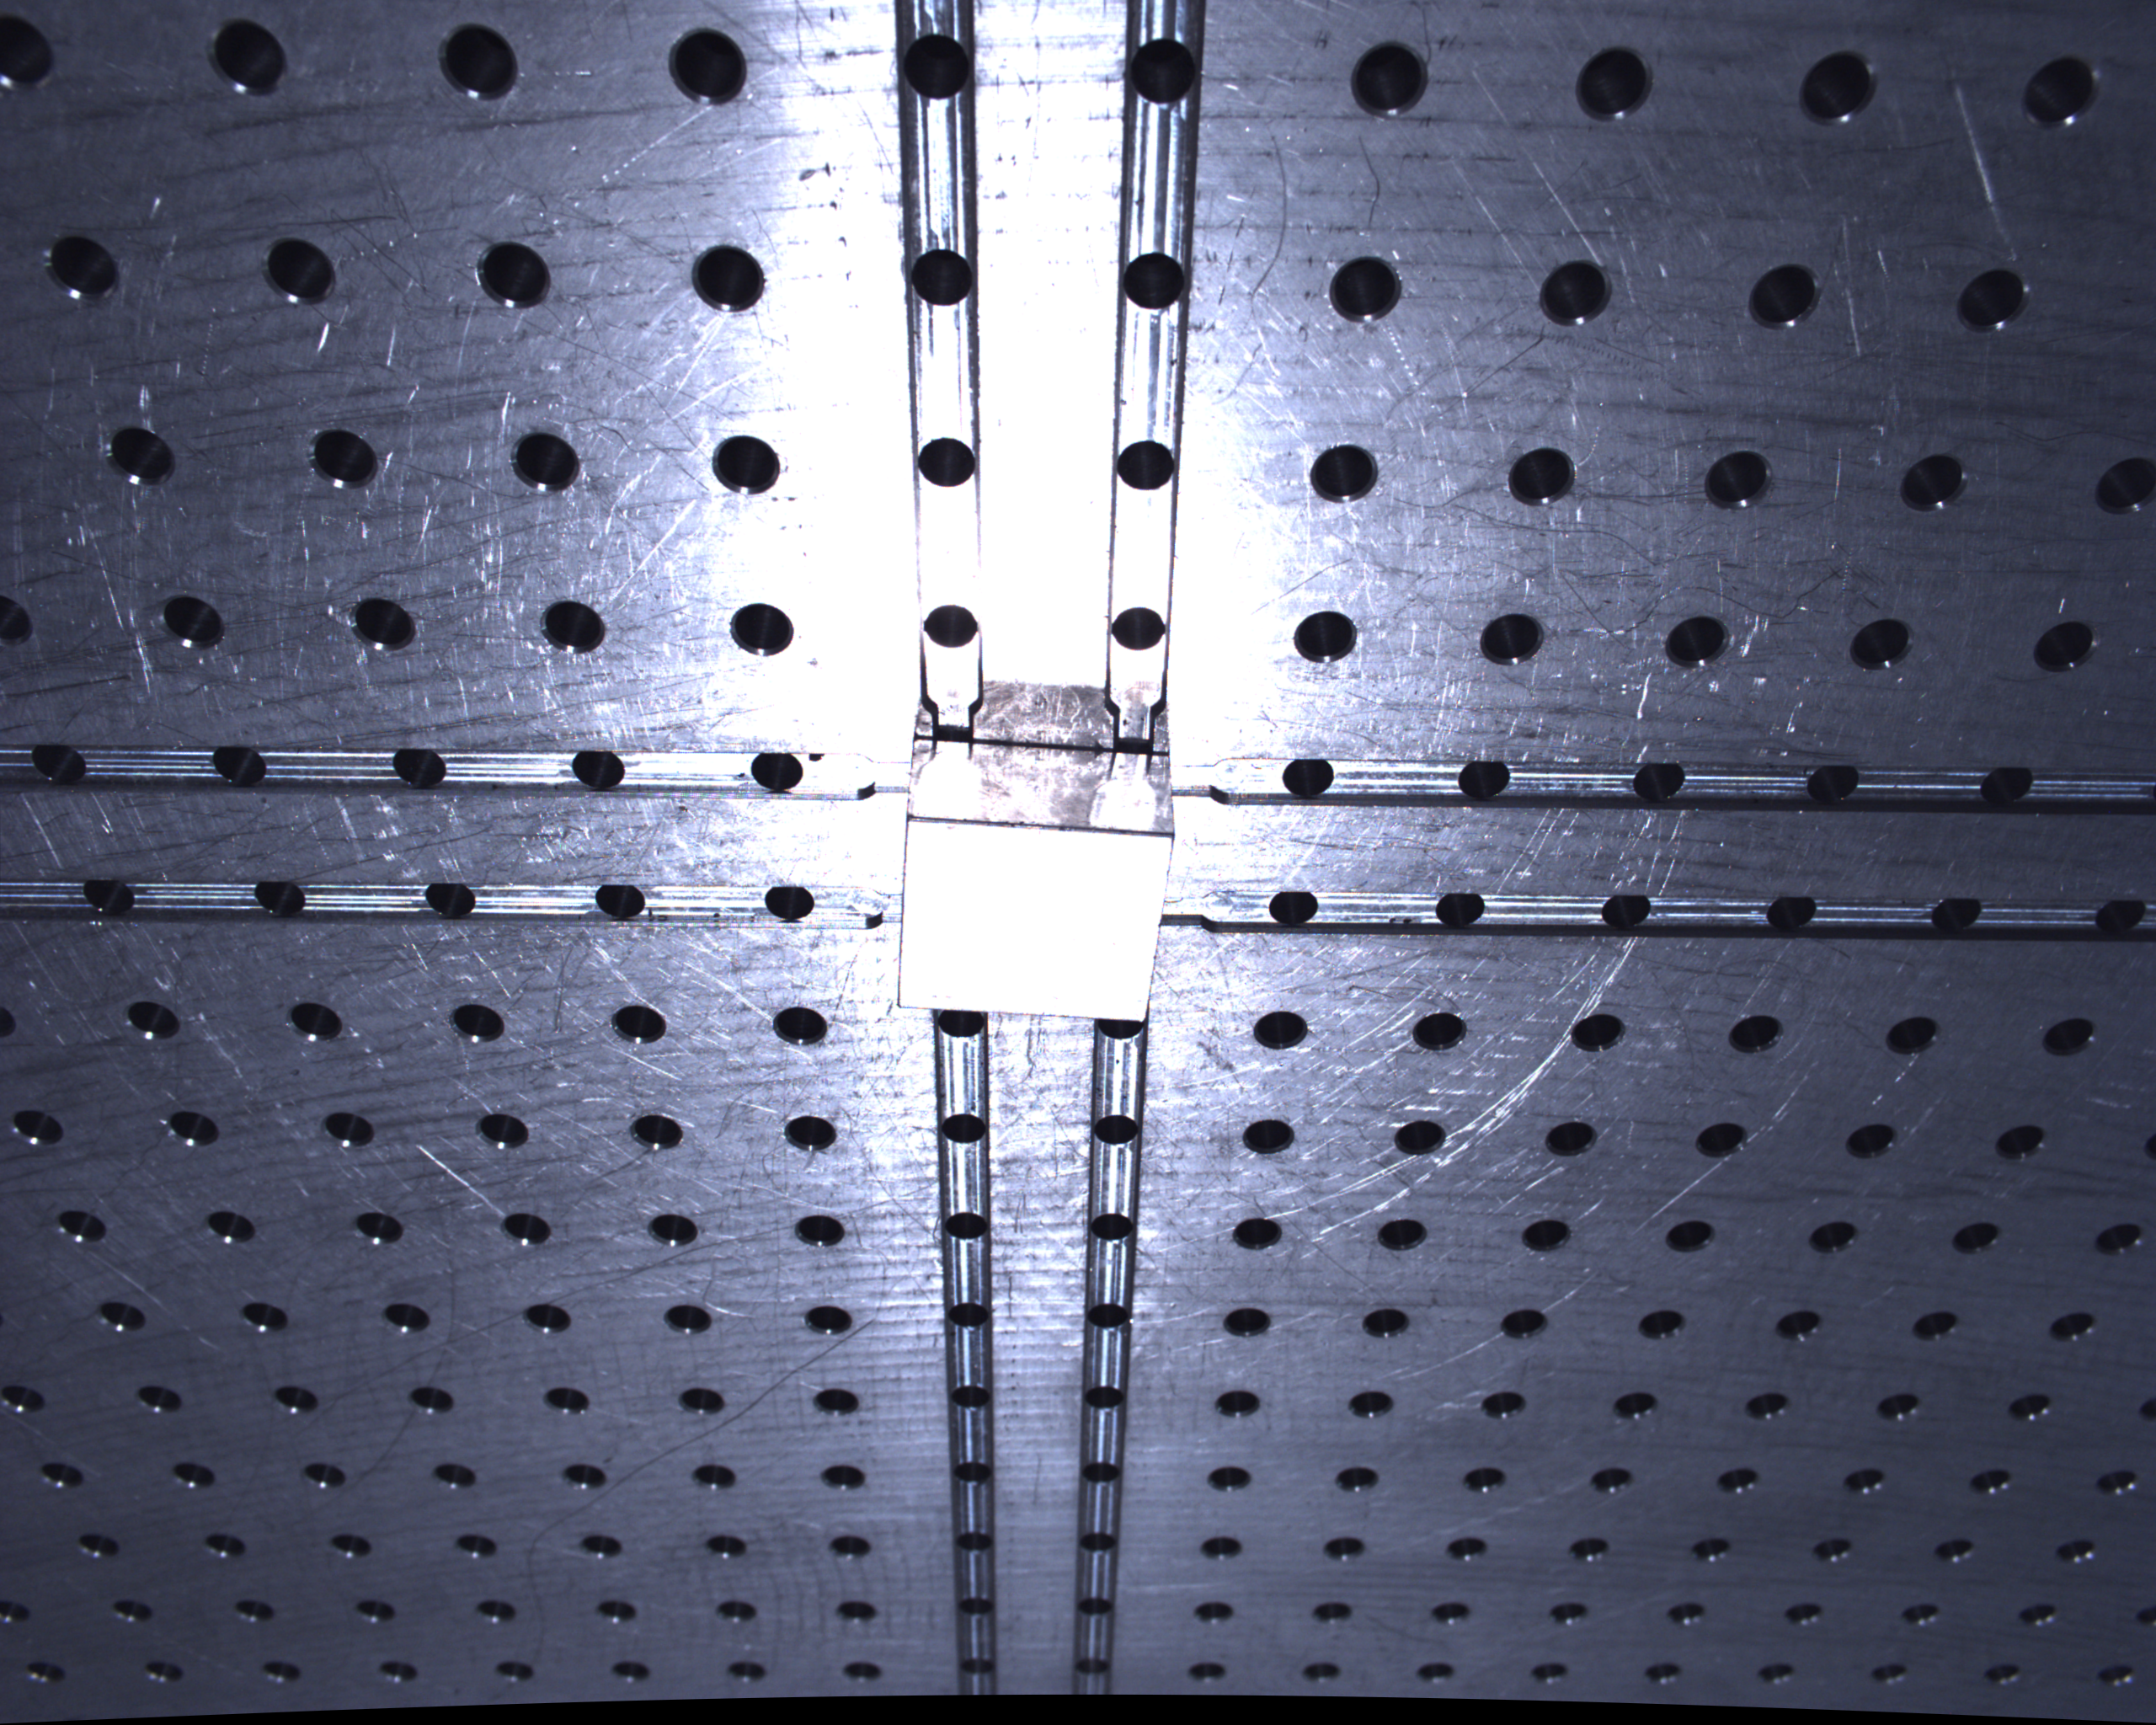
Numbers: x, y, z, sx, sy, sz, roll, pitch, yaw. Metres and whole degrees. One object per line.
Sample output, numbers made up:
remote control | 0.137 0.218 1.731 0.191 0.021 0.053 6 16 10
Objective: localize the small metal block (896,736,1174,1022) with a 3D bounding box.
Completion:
small metal block | -0.009 0.004 0.414 0.050 0.025 0.050 4 130 -4
